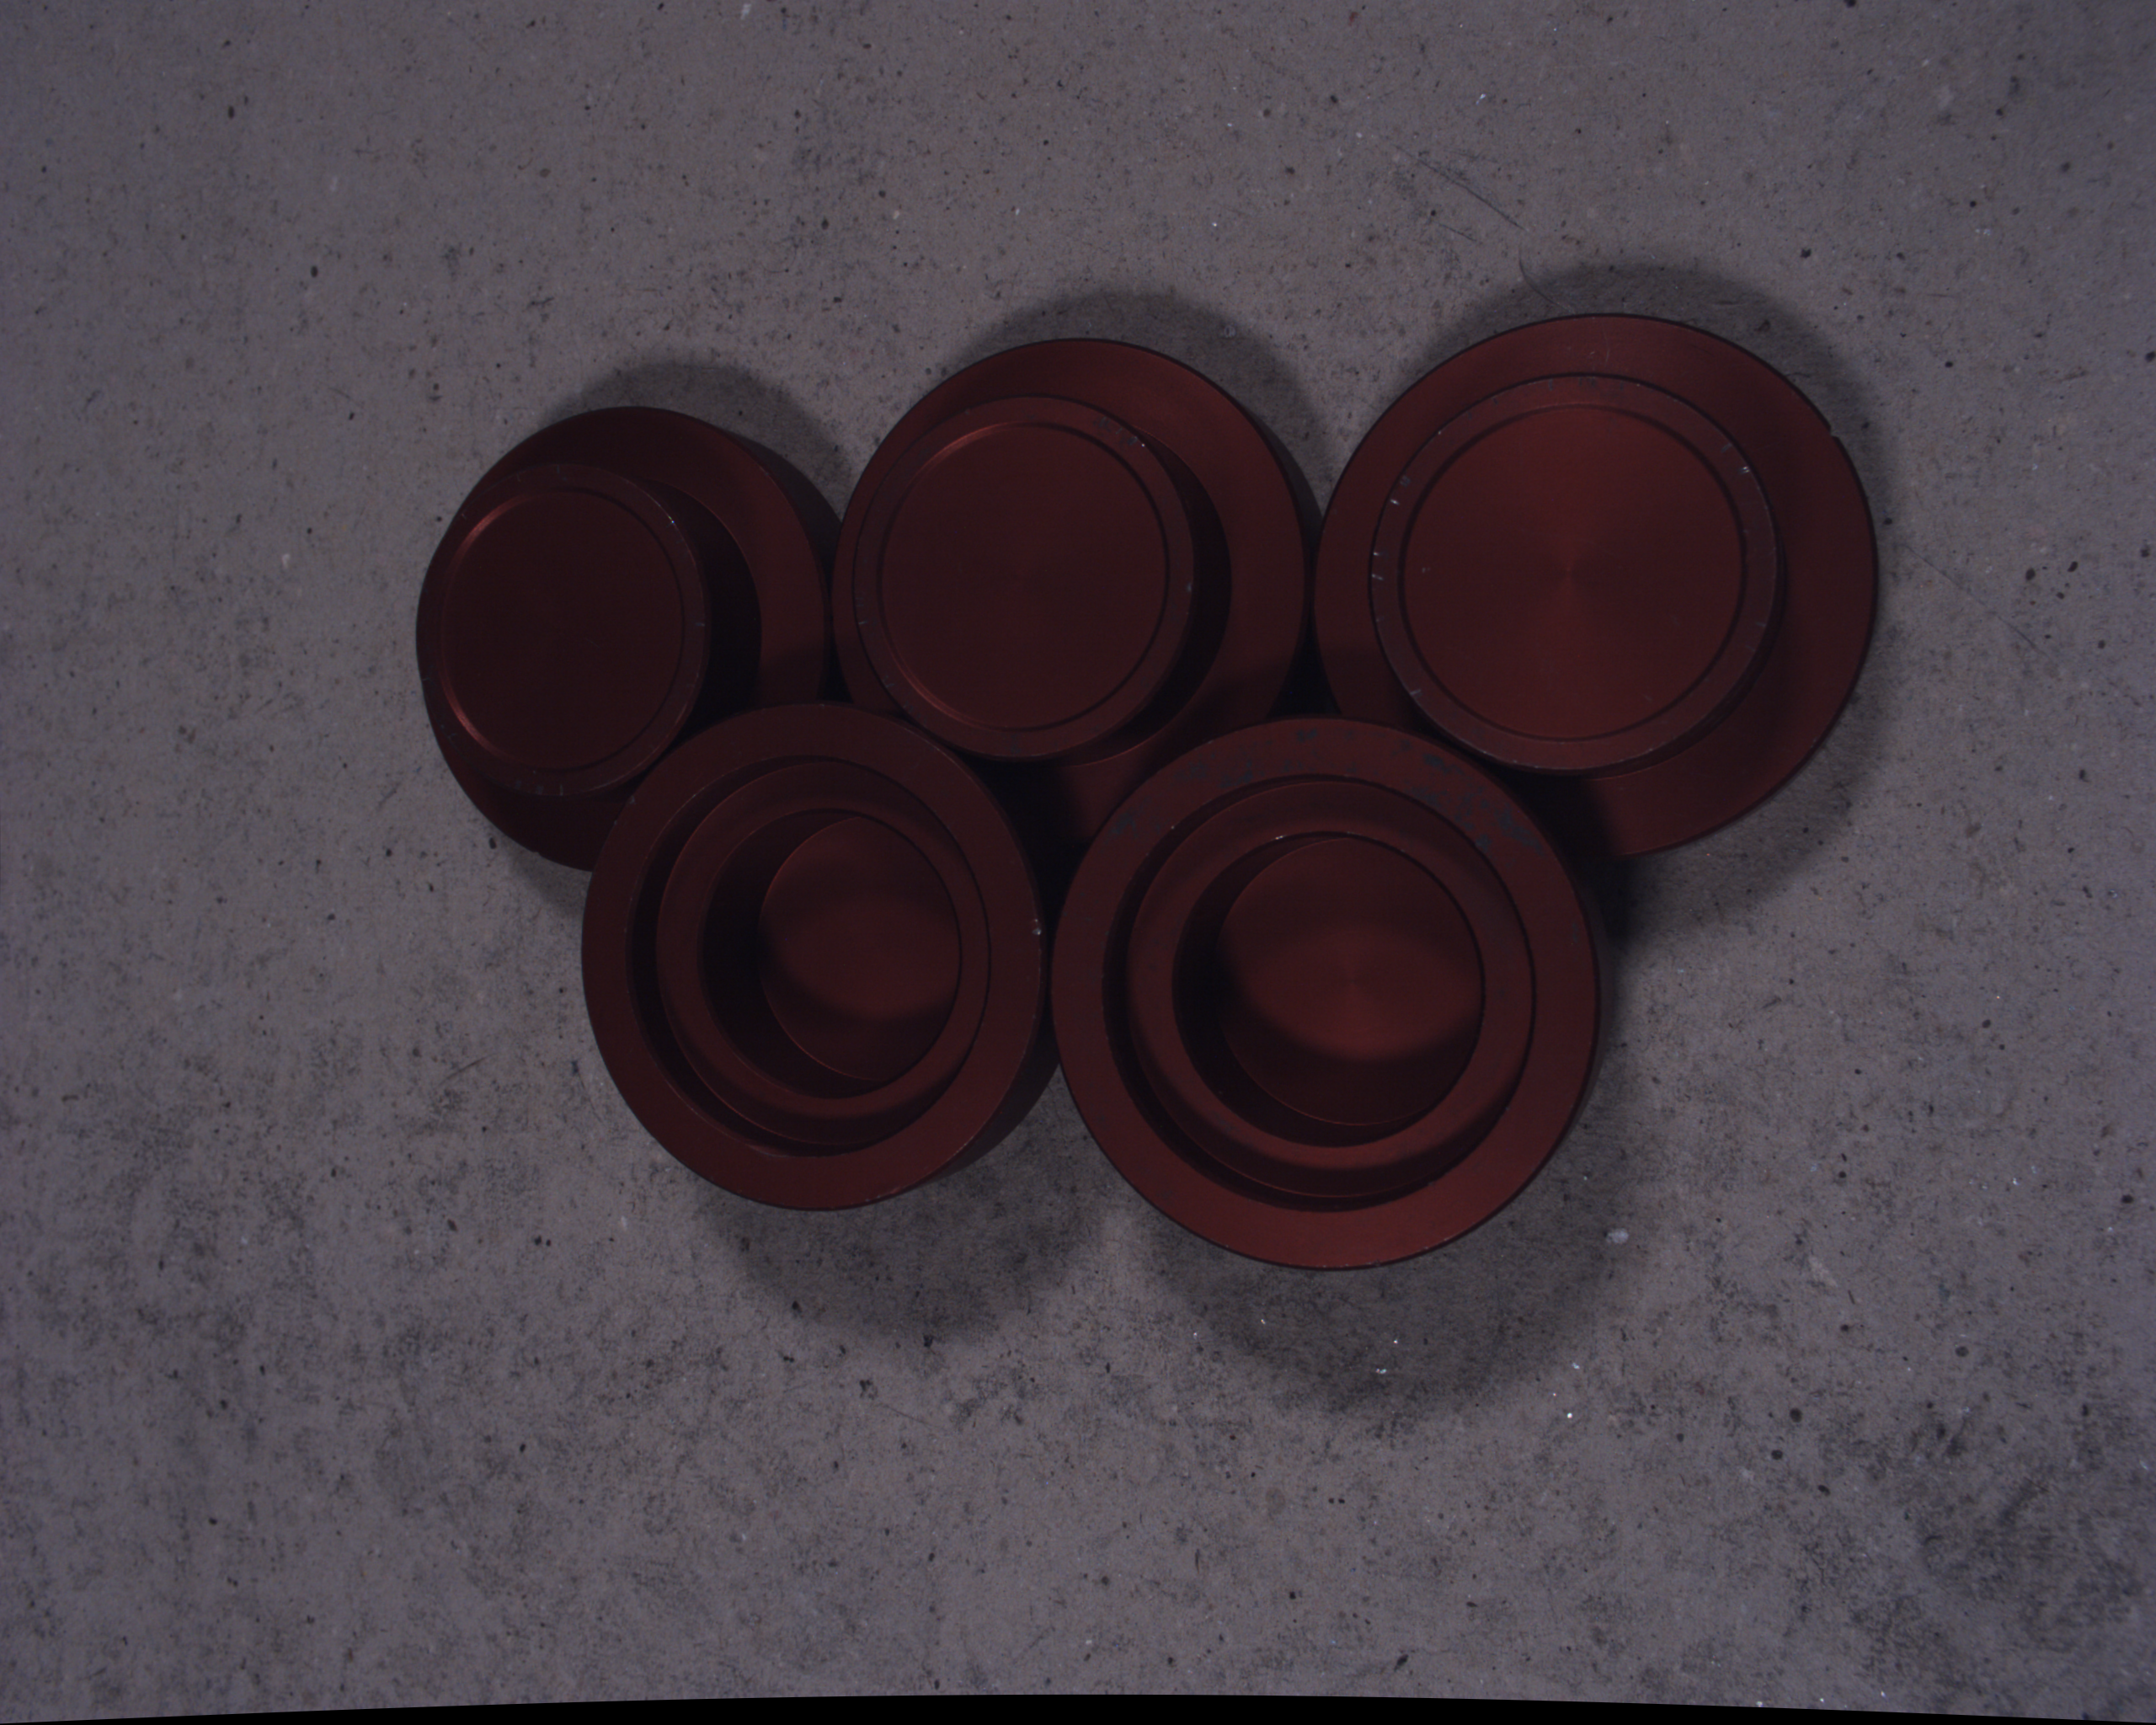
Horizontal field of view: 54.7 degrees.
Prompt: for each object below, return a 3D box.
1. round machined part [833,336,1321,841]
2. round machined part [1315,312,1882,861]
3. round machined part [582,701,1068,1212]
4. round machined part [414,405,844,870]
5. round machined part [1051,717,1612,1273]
[{"bbox_3d":[-0.003,-0.053,0.402,0.098,0.042,0.097,0,90,19],"label":"round machined part"},{"bbox_3d":[0.090,-0.049,0.369,0.098,0.042,0.097,0,90,19],"label":"round machined part"},{"bbox_3d":[-0.045,0.018,0.416,0.098,0.042,0.097,0,90,19],"label":"round machined part"},{"bbox_3d":[-0.097,-0.047,0.434,0.098,0.042,0.097,0,90,19],"label":"round machined part"},{"bbox_3d":[0.048,0.023,0.384,0.098,0.042,0.097,0,90,19],"label":"round machined part"}]
